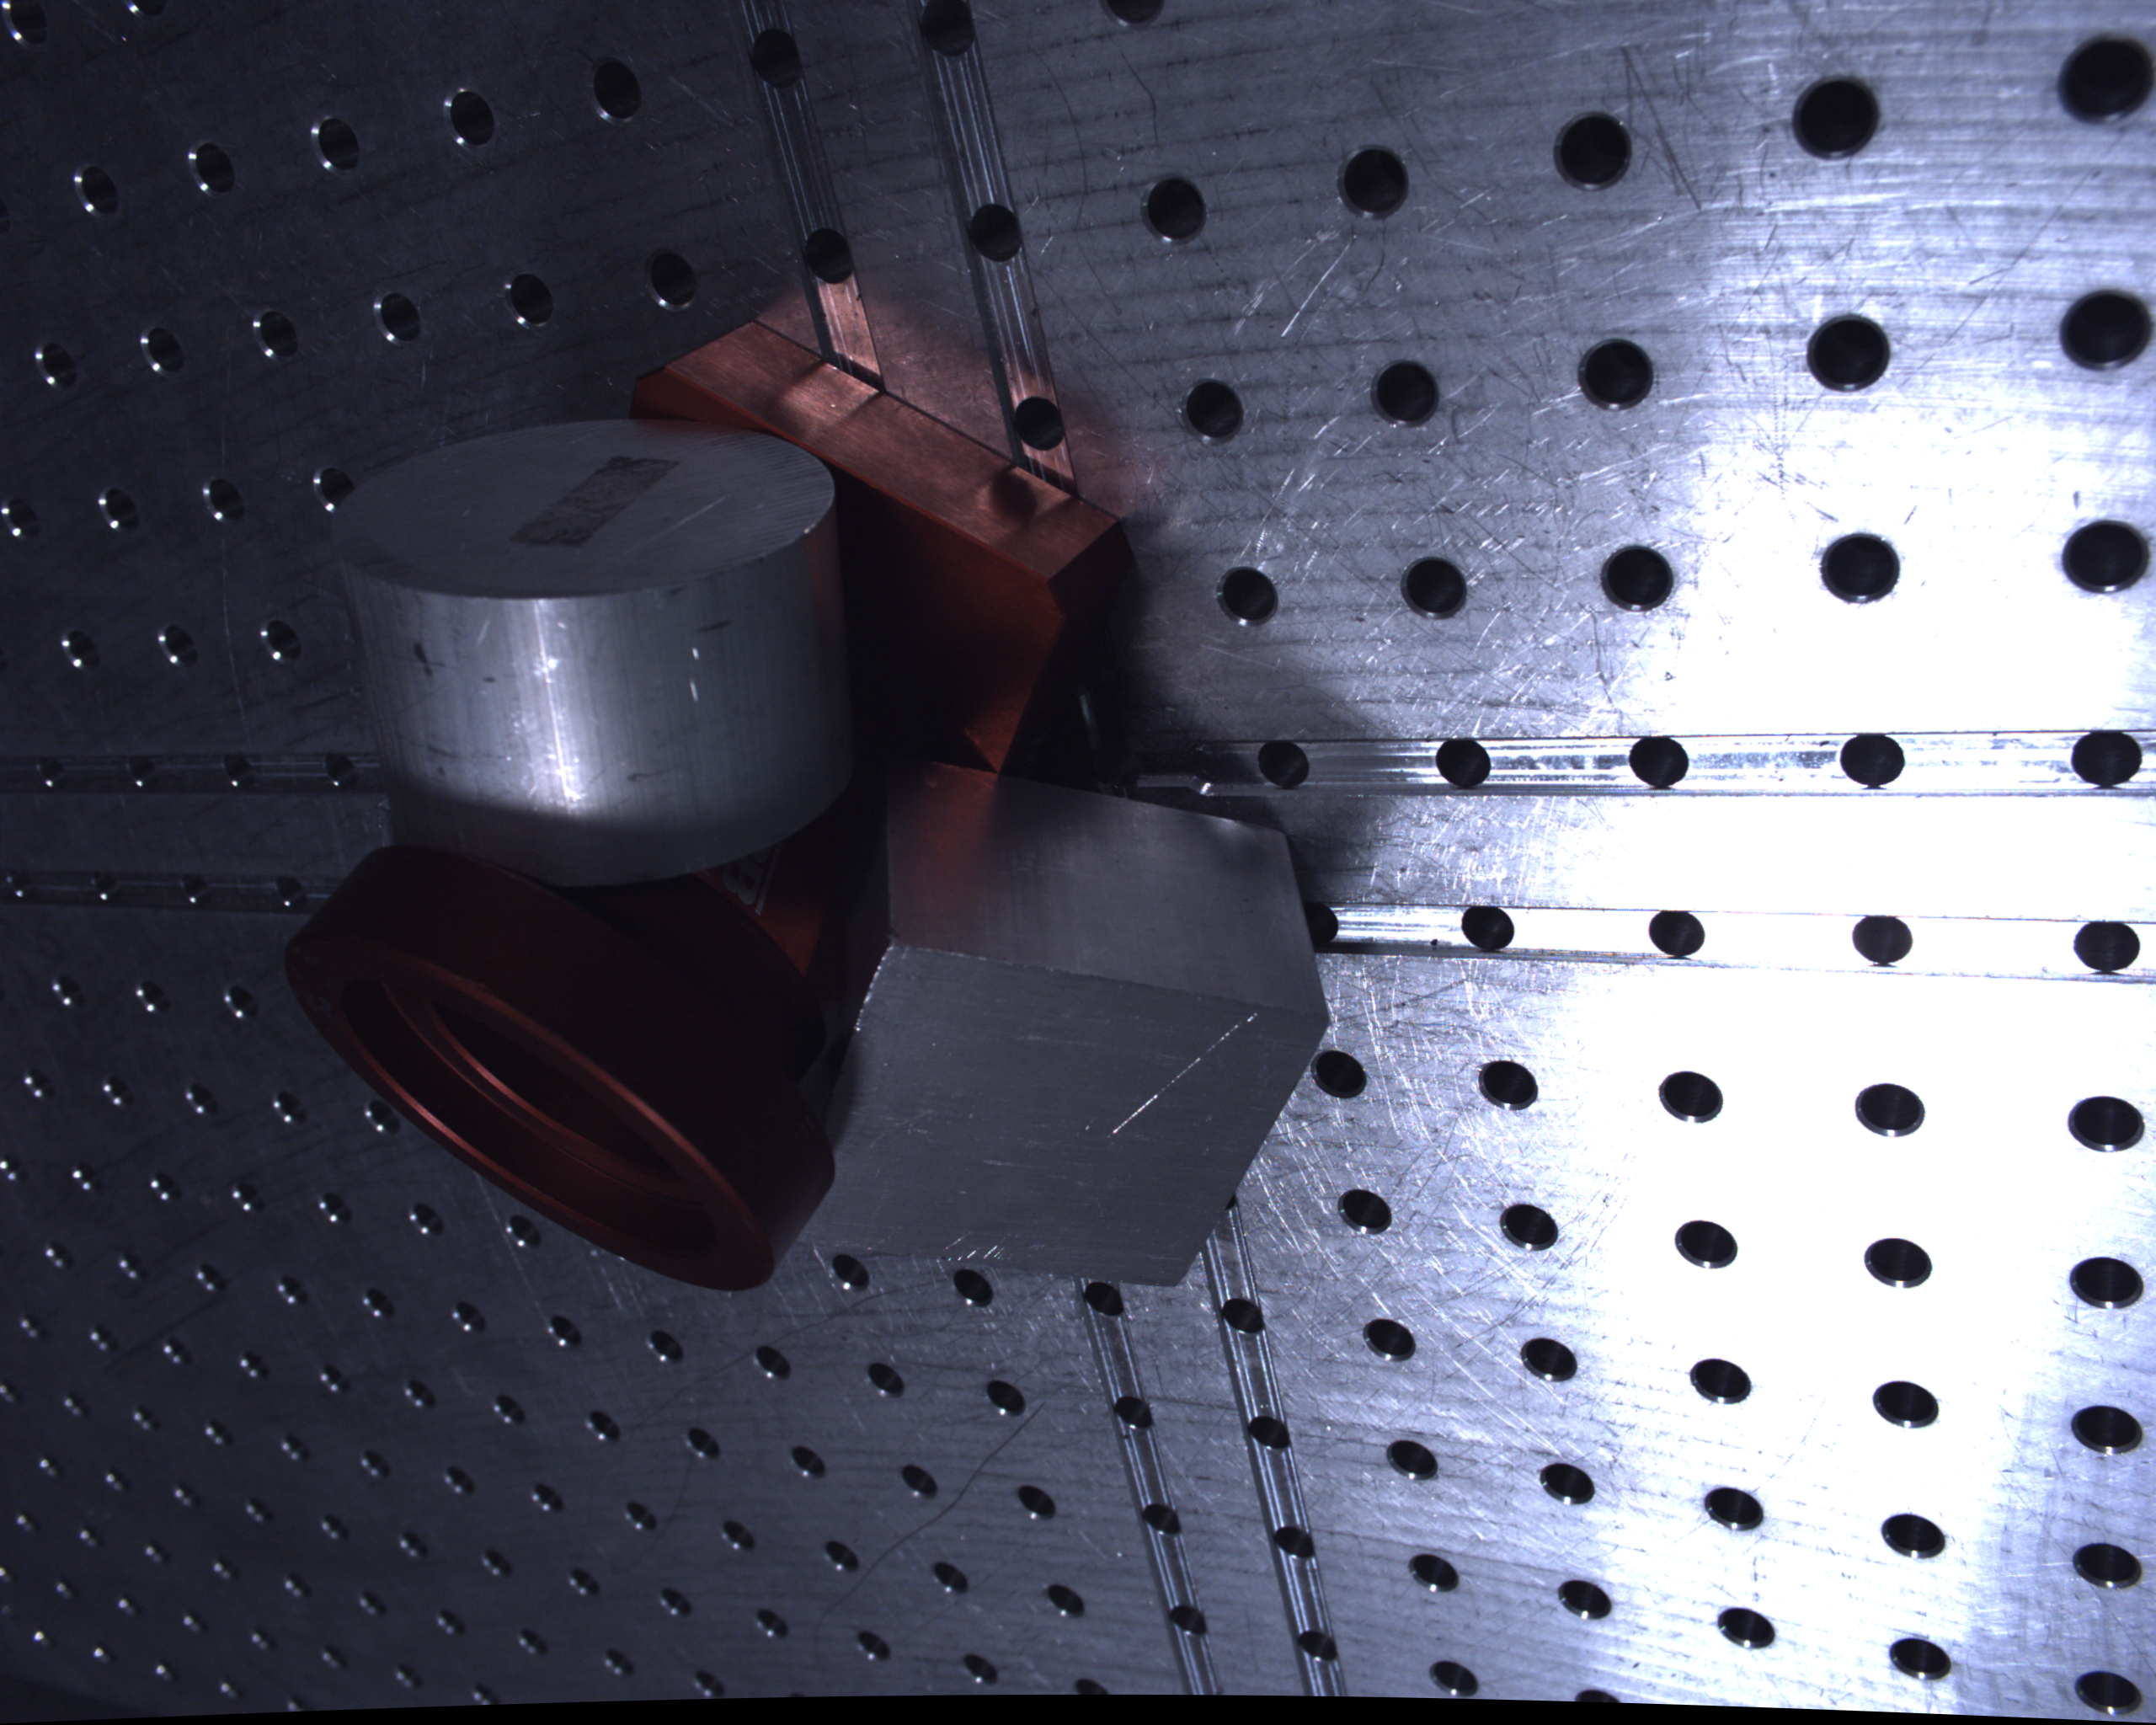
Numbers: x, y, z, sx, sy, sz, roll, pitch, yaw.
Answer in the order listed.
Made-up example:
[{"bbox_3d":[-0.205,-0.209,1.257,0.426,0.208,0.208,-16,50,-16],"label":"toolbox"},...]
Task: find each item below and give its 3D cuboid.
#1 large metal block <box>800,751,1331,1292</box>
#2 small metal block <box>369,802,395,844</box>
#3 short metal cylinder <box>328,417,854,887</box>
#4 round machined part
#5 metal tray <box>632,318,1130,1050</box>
[{"bbox_3d":[-0.009,0.032,0.395,0.081,0.050,0.079,11,129,-16],"label":"large metal block"},{"bbox_3d":[-0.110,0.002,0.412,0.025,0.050,0.050,18,125,18],"label":"small metal block"},{"bbox_3d":[-0.080,-0.038,0.353,0.080,0.080,0.050,13,124,21],"label":"short metal cylinder"},{"bbox_3d":[-0.084,0.029,0.365,0.098,0.042,0.098,24,150,15],"label":"round machined part"},{"bbox_3d":[-0.054,-0.030,0.417,0.090,0.030,0.129,30,128,8],"label":"metal tray"}]
